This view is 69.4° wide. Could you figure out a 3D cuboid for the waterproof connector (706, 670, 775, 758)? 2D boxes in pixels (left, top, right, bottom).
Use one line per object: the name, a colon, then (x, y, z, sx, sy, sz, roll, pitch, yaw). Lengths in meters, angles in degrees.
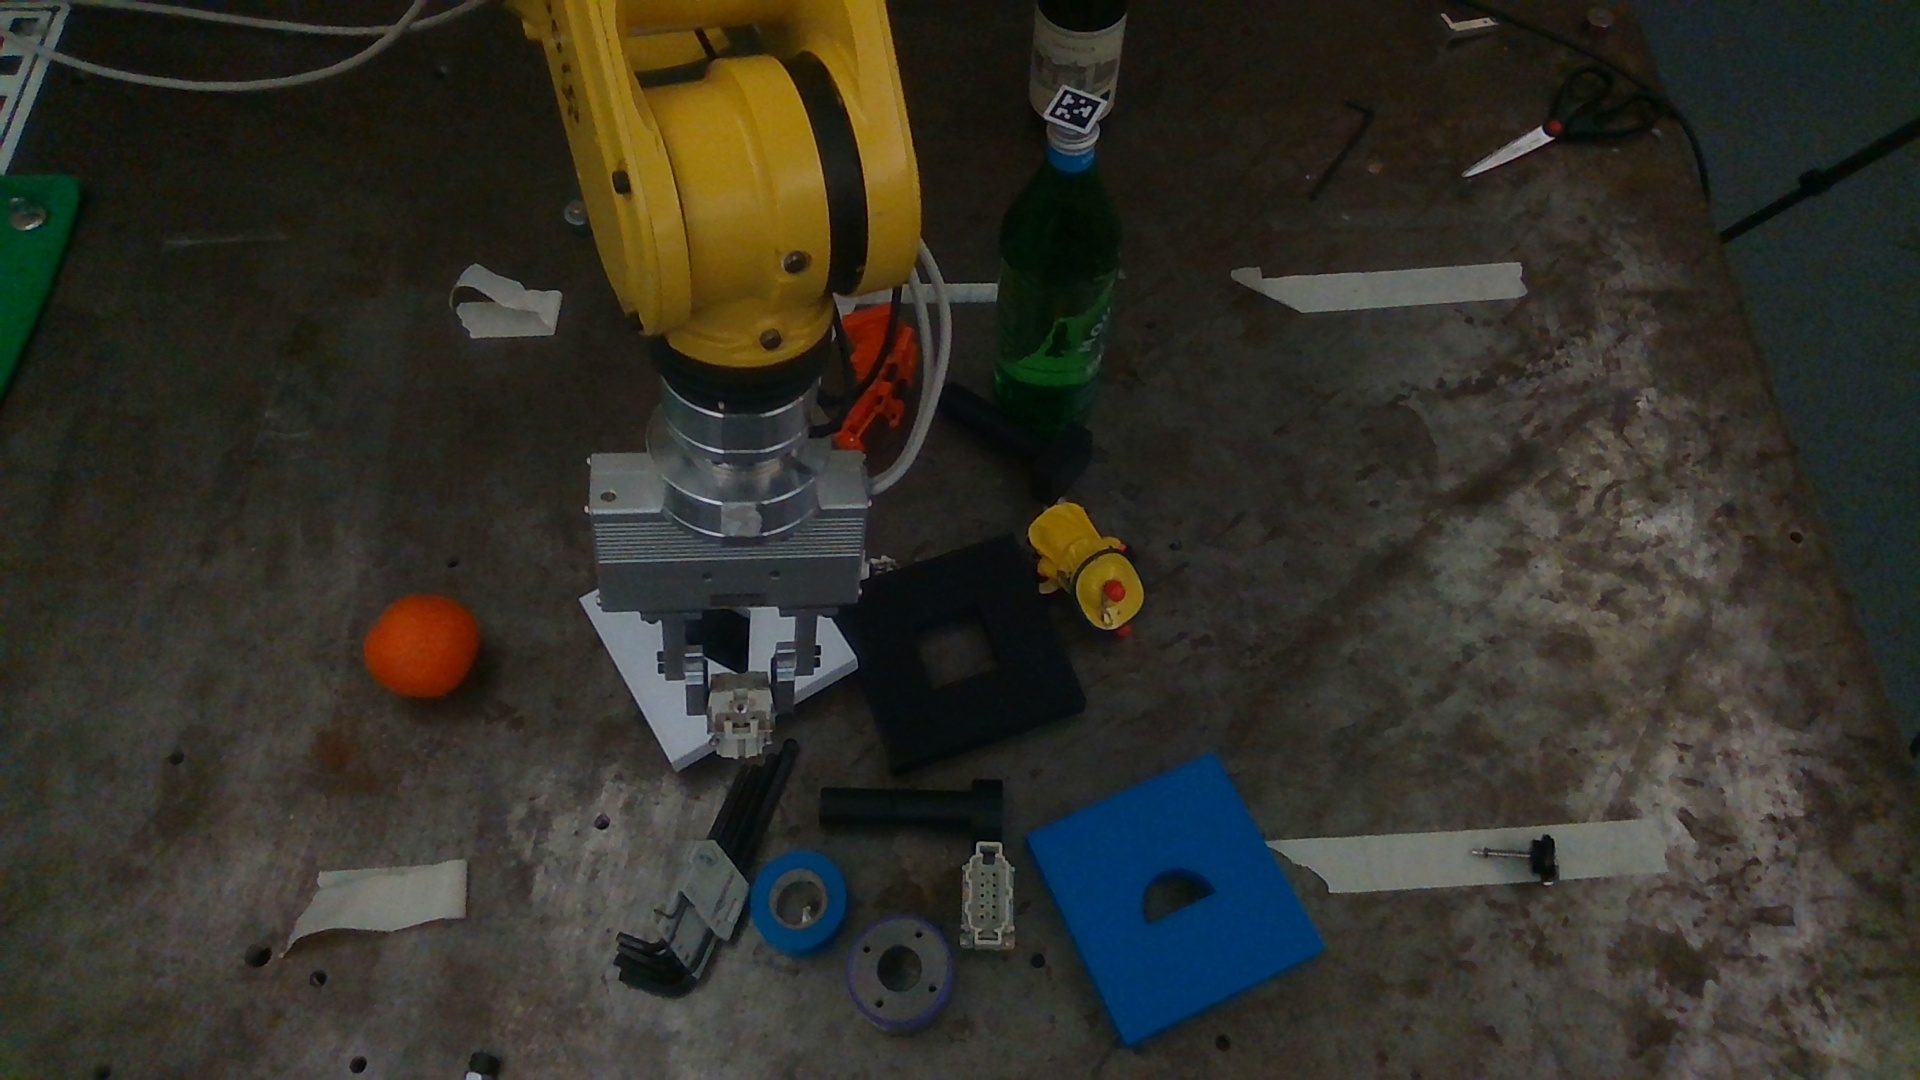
waterproof connector: (-0.122, 0.097, 0.777, 0.036, 0.069, 0.038, -4, 98, -7)
